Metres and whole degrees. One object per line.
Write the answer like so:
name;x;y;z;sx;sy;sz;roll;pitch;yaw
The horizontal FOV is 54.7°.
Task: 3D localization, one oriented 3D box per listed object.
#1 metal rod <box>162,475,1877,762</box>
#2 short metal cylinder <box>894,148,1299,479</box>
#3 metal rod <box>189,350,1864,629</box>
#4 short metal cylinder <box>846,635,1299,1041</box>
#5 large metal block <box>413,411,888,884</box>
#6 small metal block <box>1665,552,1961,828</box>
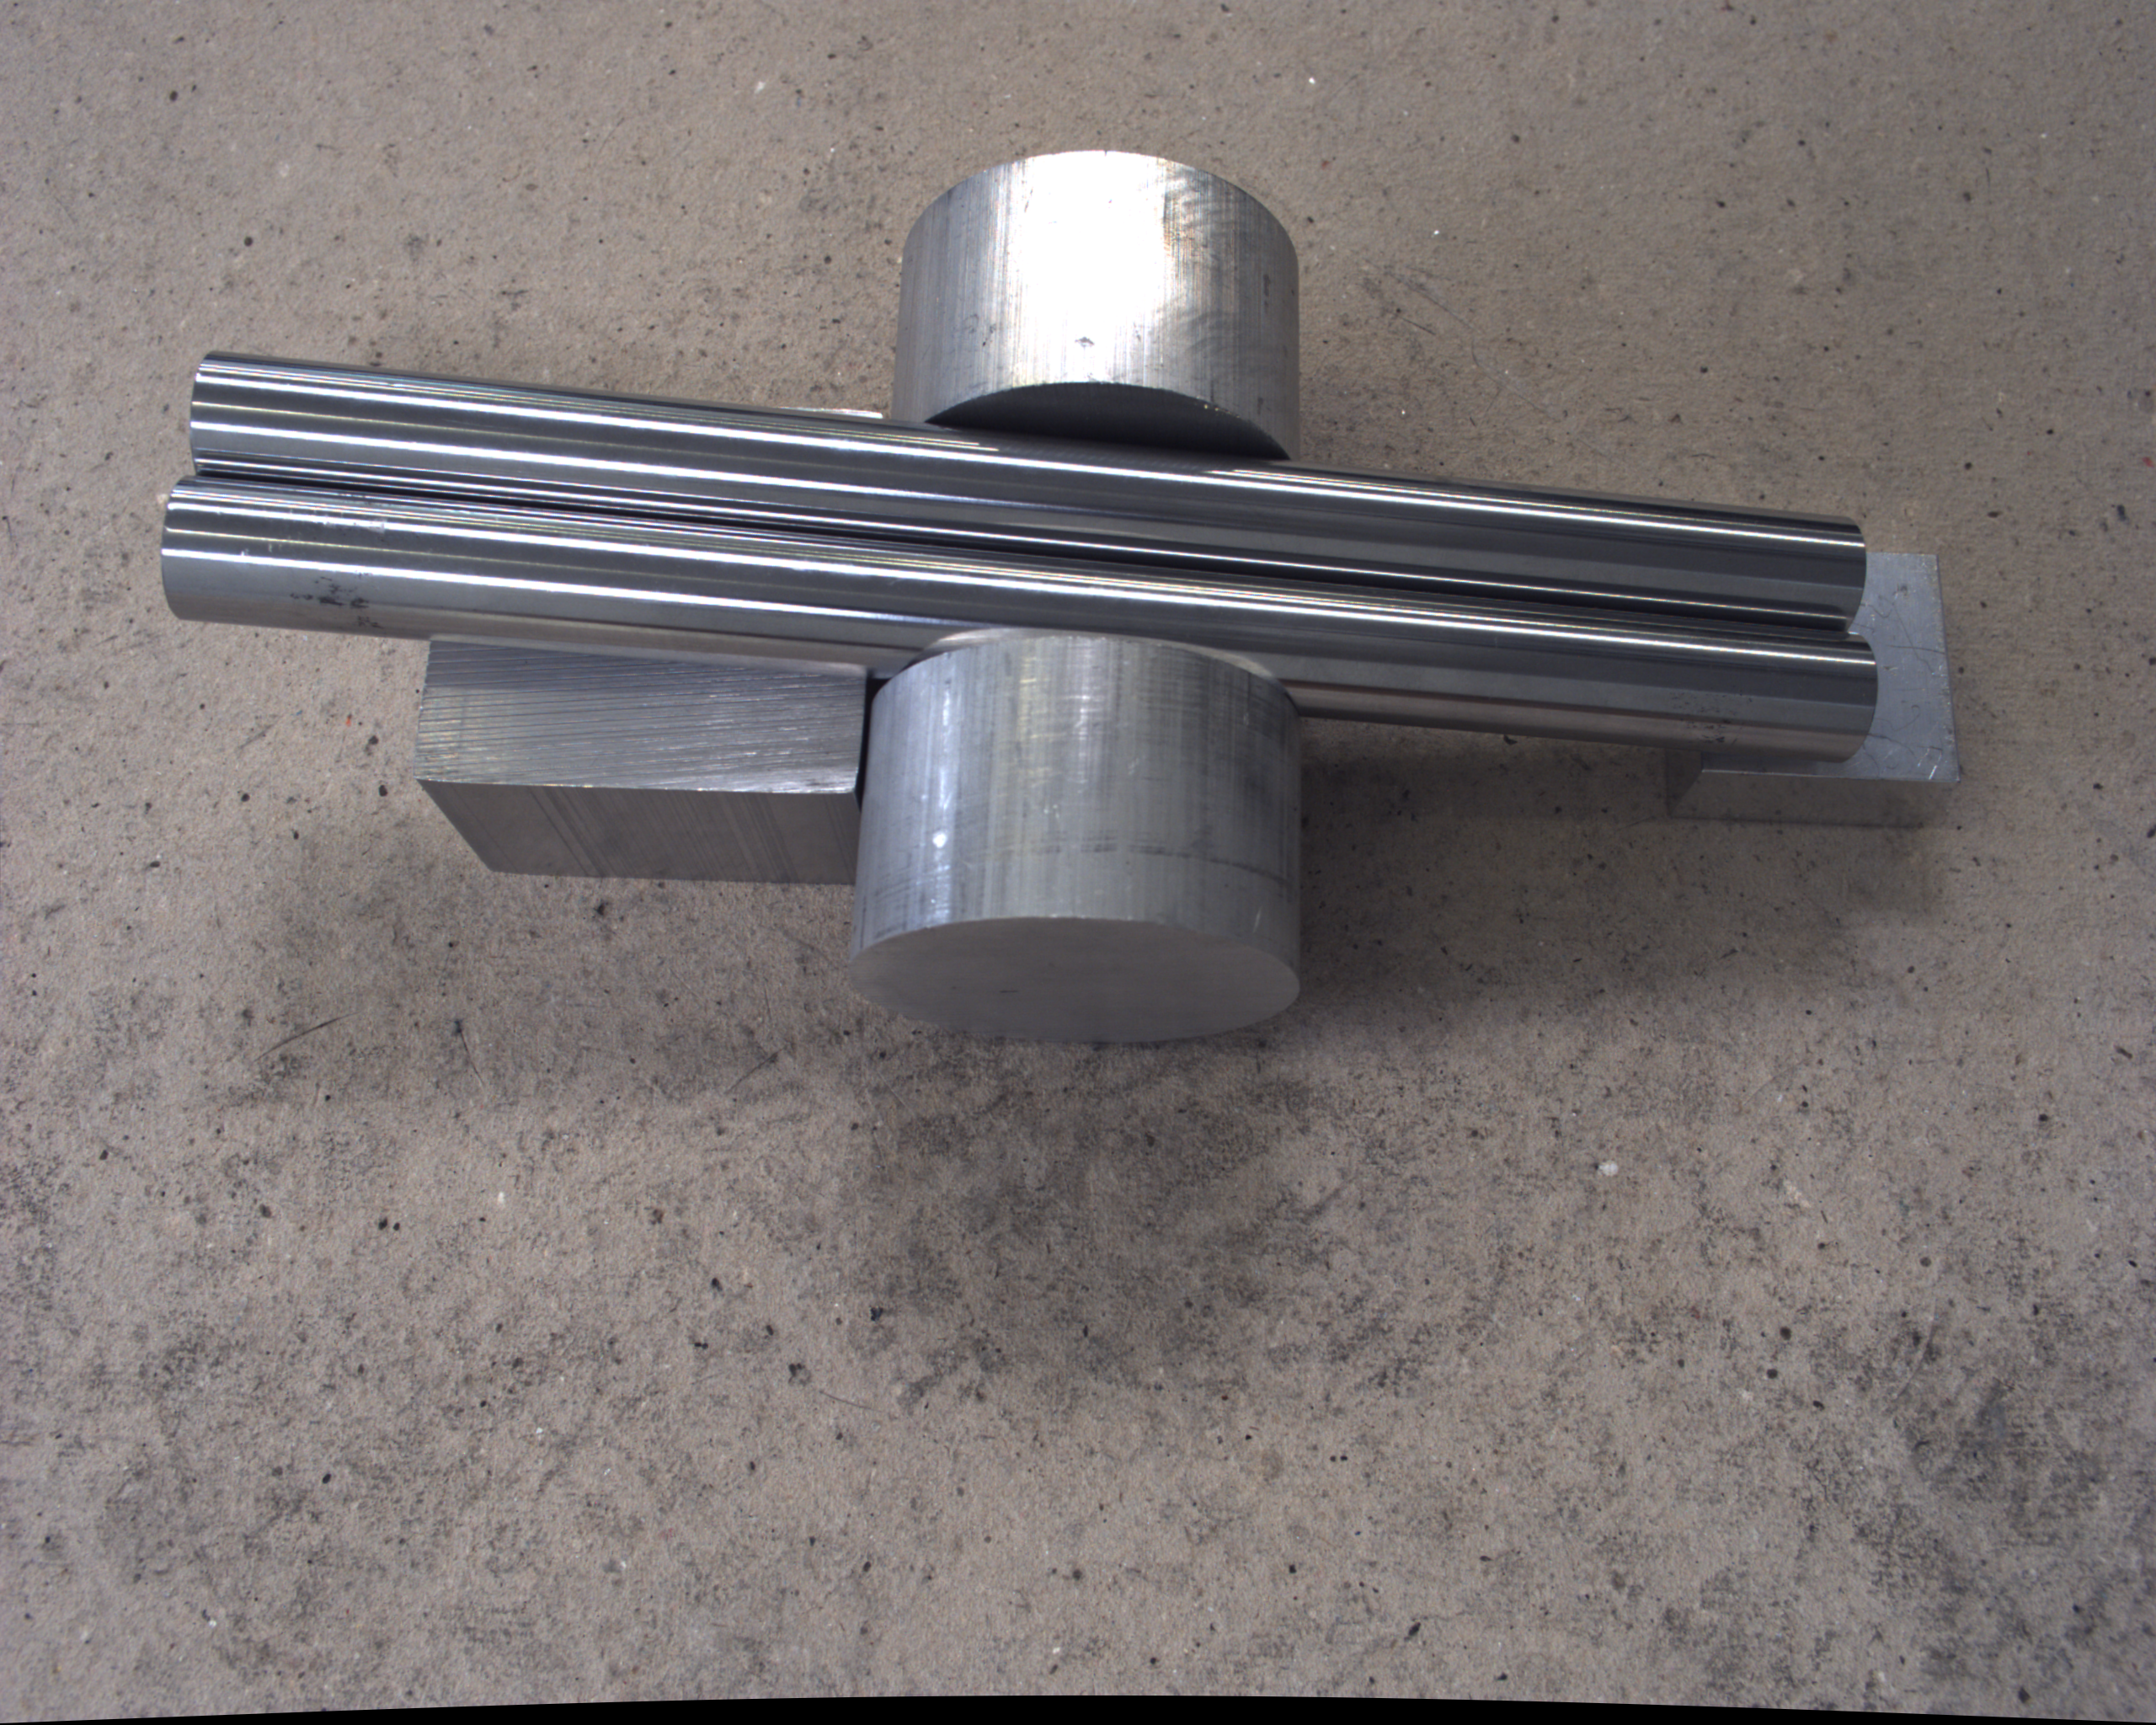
metal rod;-0.004;-0.043;0.377;0.302;0.025;0.025;4;70;-7
short metal cylinder;0.004;-0.095;0.415;0.080;0.080;0.050;1;70;0
metal rod;-0.003;-0.066;0.386;0.302;0.025;0.025;4;70;-7
short metal cylinder;0.000;-0.002;0.381;0.080;0.080;0.050;1;70;0
large metal block;-0.078;-0.042;0.411;0.080;0.050;0.080;2;70;0
small metal block;0.147;-0.036;0.424;0.050;0.025;0.050;3;70;1
